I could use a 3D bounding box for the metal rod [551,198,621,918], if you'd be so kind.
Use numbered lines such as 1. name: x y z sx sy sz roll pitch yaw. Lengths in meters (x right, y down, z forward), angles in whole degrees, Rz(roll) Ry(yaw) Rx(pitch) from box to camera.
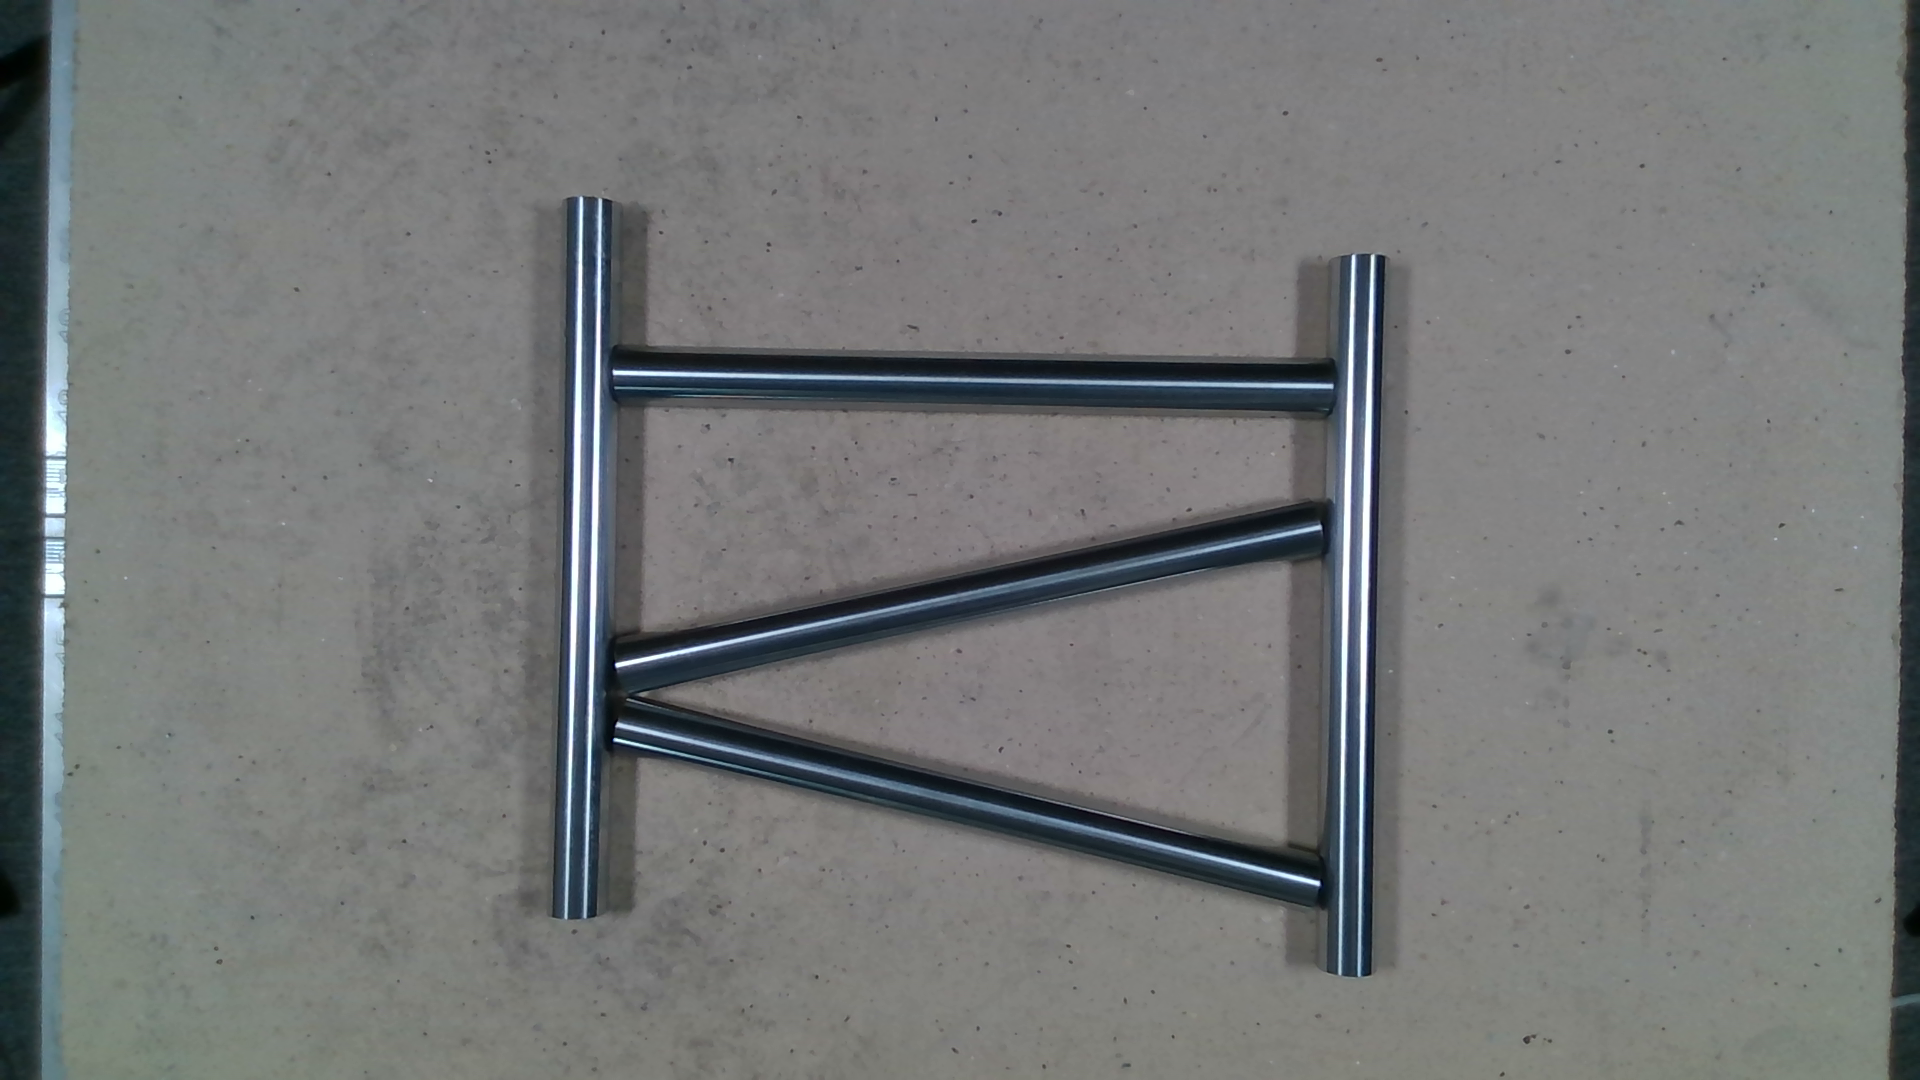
1. metal rod: -0.159 0.008 0.586 0.025 0.025 0.300 1 91 0

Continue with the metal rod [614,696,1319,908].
1. metal rod: 0.003 0.111 0.587 0.300 0.025 0.025 13 90 0

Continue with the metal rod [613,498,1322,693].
1. metal rod: 0.003 0.024 0.586 0.300 0.025 0.025 -11 90 0

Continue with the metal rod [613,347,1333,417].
1. metal rod: 0.005 -0.067 0.586 0.300 0.025 0.025 1 90 0

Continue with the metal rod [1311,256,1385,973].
1. metal rod: 0.165 0.031 0.587 0.025 0.025 0.300 1 91 0
